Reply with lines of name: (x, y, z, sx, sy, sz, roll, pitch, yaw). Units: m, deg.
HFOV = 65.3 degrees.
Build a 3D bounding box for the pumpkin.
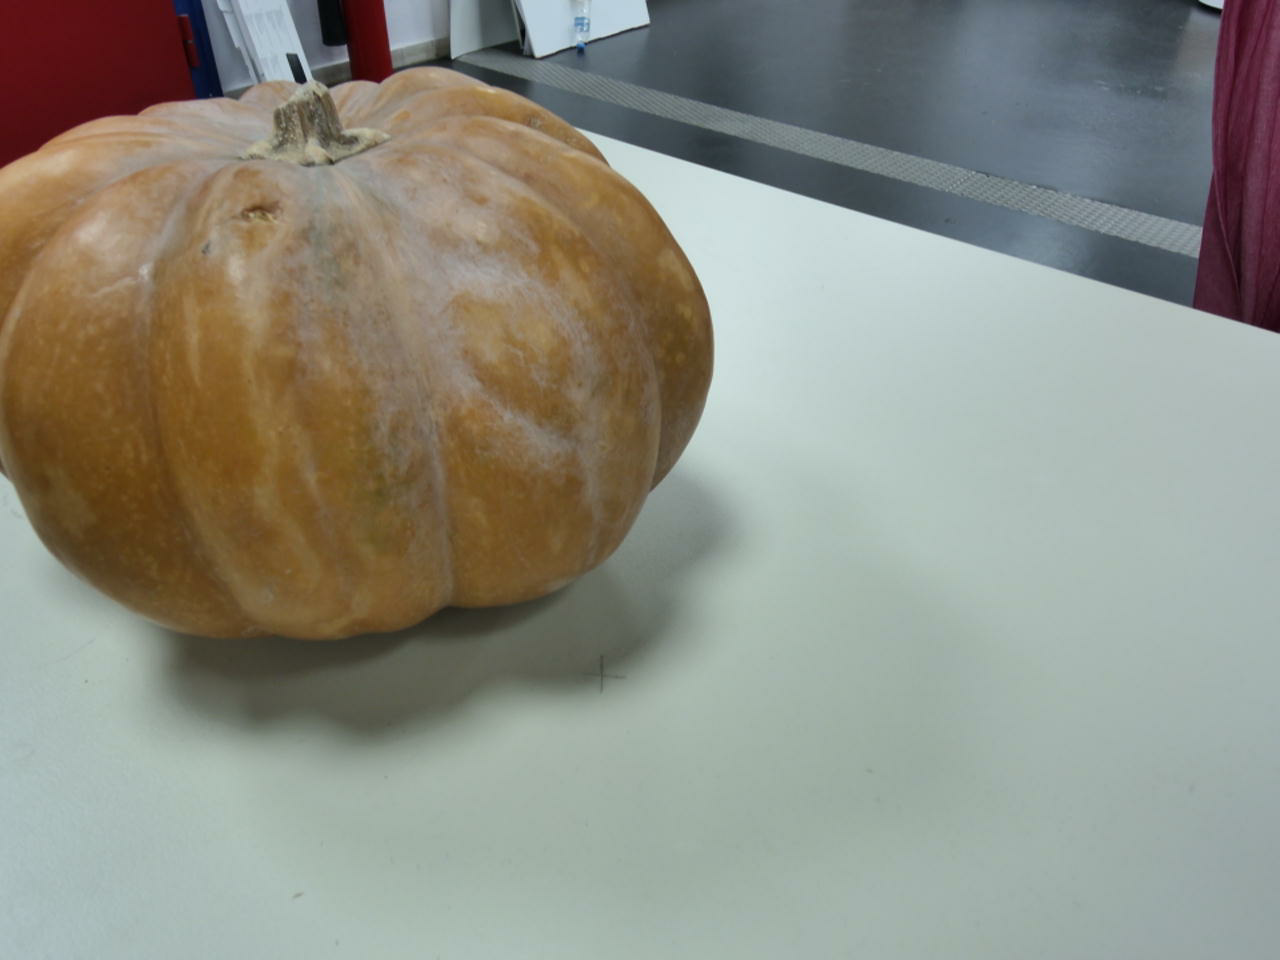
pumpkin: (-0.110, -0.054, 0.382, 0.277, 0.181, 0.277, 0, 36, 0)
